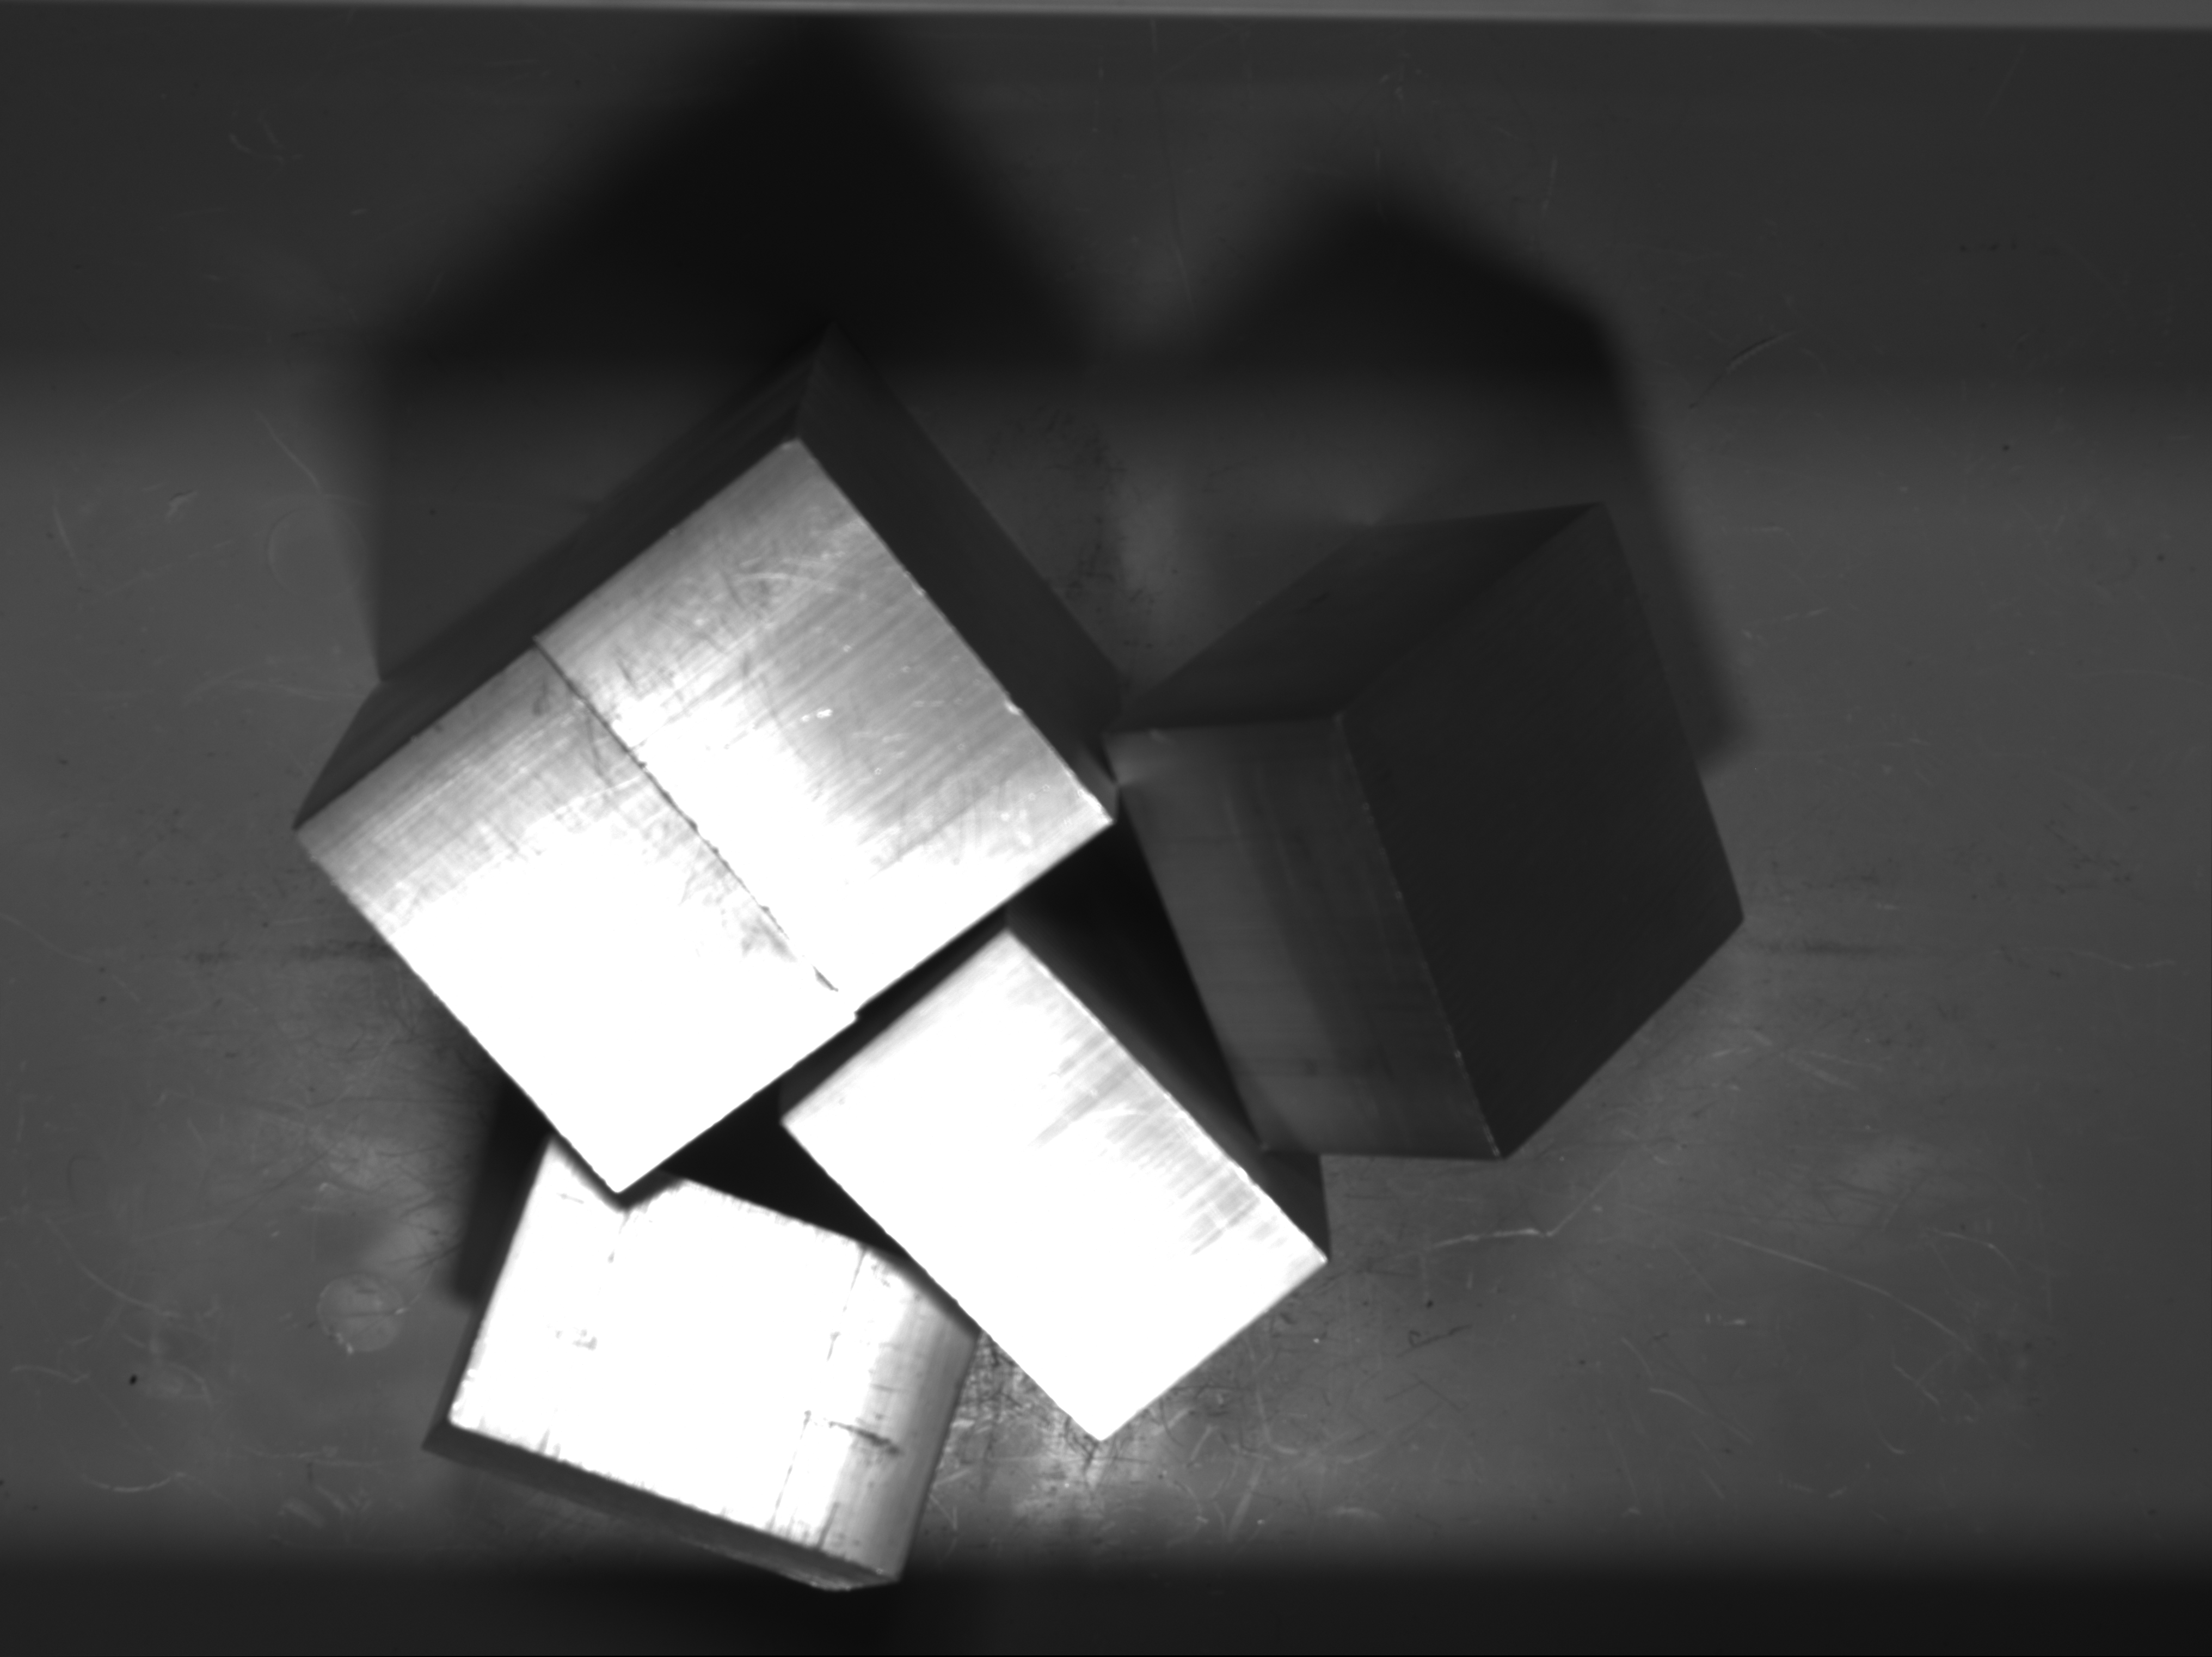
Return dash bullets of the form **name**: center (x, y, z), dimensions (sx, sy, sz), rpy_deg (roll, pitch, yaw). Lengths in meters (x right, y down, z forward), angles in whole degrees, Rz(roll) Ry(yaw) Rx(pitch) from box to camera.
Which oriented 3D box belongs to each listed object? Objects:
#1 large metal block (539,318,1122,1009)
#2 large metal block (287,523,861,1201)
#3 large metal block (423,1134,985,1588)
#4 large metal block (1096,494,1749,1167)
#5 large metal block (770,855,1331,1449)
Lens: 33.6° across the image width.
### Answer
- **large metal block**: center (-0.042, -0.029, 0.601), dimensions (0.050, 0.080, 0.080), rpy_deg (-37, 106, 12)
- **large metal block**: center (-0.084, 0.002, 0.613), dimensions (0.050, 0.080, 0.080), rpy_deg (-36, 106, 12)
- **large metal block**: center (-0.071, 0.095, 0.640), dimensions (0.080, 0.080, 0.050), rpy_deg (21, 74, -8)
- **large metal block**: center (0.054, 0.000, 0.607), dimensions (0.050, 0.080, 0.080), rpy_deg (-3, 116, 44)
- **large metal block**: center (-0.009, 0.045, 0.629), dimensions (0.050, 0.080, 0.080), rpy_deg (-40, 106, 13)
